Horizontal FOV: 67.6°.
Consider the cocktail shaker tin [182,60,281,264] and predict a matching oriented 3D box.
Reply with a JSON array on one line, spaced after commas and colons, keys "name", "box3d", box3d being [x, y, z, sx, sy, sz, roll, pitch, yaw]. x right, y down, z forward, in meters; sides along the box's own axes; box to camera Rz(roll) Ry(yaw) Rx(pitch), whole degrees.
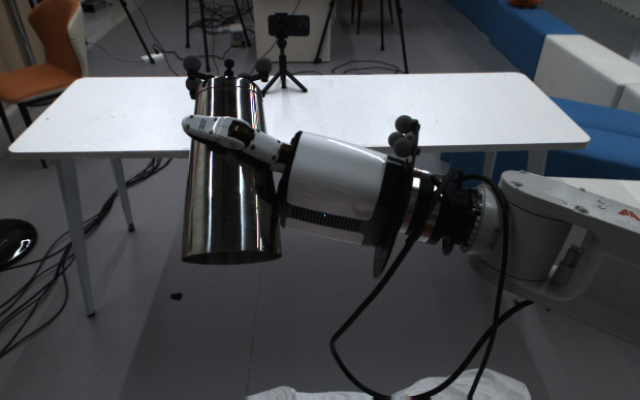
[{"name": "cocktail shaker tin", "box3d": [-0.085, -0.025, 0.469, 0.093, 0.093, 0.170, -3, 76, -7]}]
